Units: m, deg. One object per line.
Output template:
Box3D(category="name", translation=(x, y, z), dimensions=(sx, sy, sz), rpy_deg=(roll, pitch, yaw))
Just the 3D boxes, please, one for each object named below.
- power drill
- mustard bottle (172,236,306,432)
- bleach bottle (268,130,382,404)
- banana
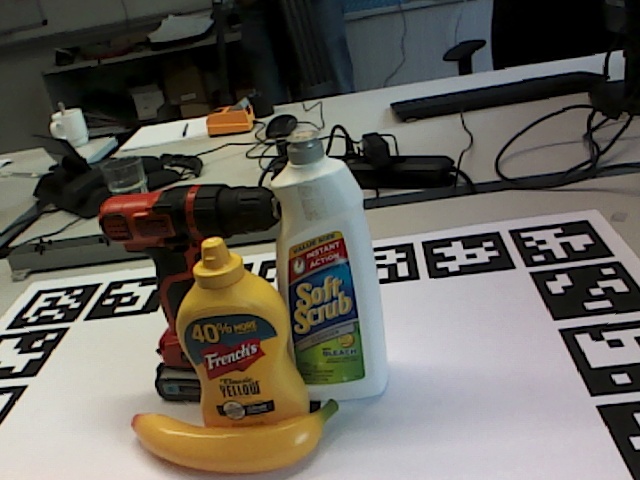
Box3D(category="power drill", translation=(-0.113, 0.038, 0.592), dimensions=(0.185, 0.186, 0.057), rpy_deg=(0, 27, 18))
Box3D(category="mustard bottle", translation=(-0.074, 0.084, 0.532), dimensions=(0.096, 0.191, 0.058), rpy_deg=(-6, 27, 8))
Box3D(category="bleach bottle", translation=(-0.005, 0.027, 0.563), dimensions=(0.103, 0.250, 0.068), rpy_deg=(-6, 21, 10))
Box3D(category="banana", translation=(-0.081, 0.175, 0.547), dimensions=(0.198, 0.039, 0.074), rpy_deg=(-7, 28, 13))
